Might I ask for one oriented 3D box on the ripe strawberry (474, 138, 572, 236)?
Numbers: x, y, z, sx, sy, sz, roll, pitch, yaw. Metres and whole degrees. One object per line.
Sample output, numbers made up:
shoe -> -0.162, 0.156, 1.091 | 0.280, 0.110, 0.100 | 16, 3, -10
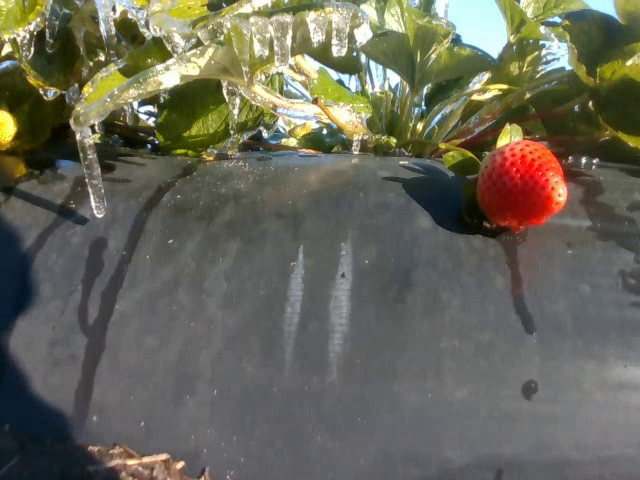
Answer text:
ripe strawberry -> 0.085, -0.021, 0.236 | 0.039, 0.041, 0.053 | -7, 20, -2
